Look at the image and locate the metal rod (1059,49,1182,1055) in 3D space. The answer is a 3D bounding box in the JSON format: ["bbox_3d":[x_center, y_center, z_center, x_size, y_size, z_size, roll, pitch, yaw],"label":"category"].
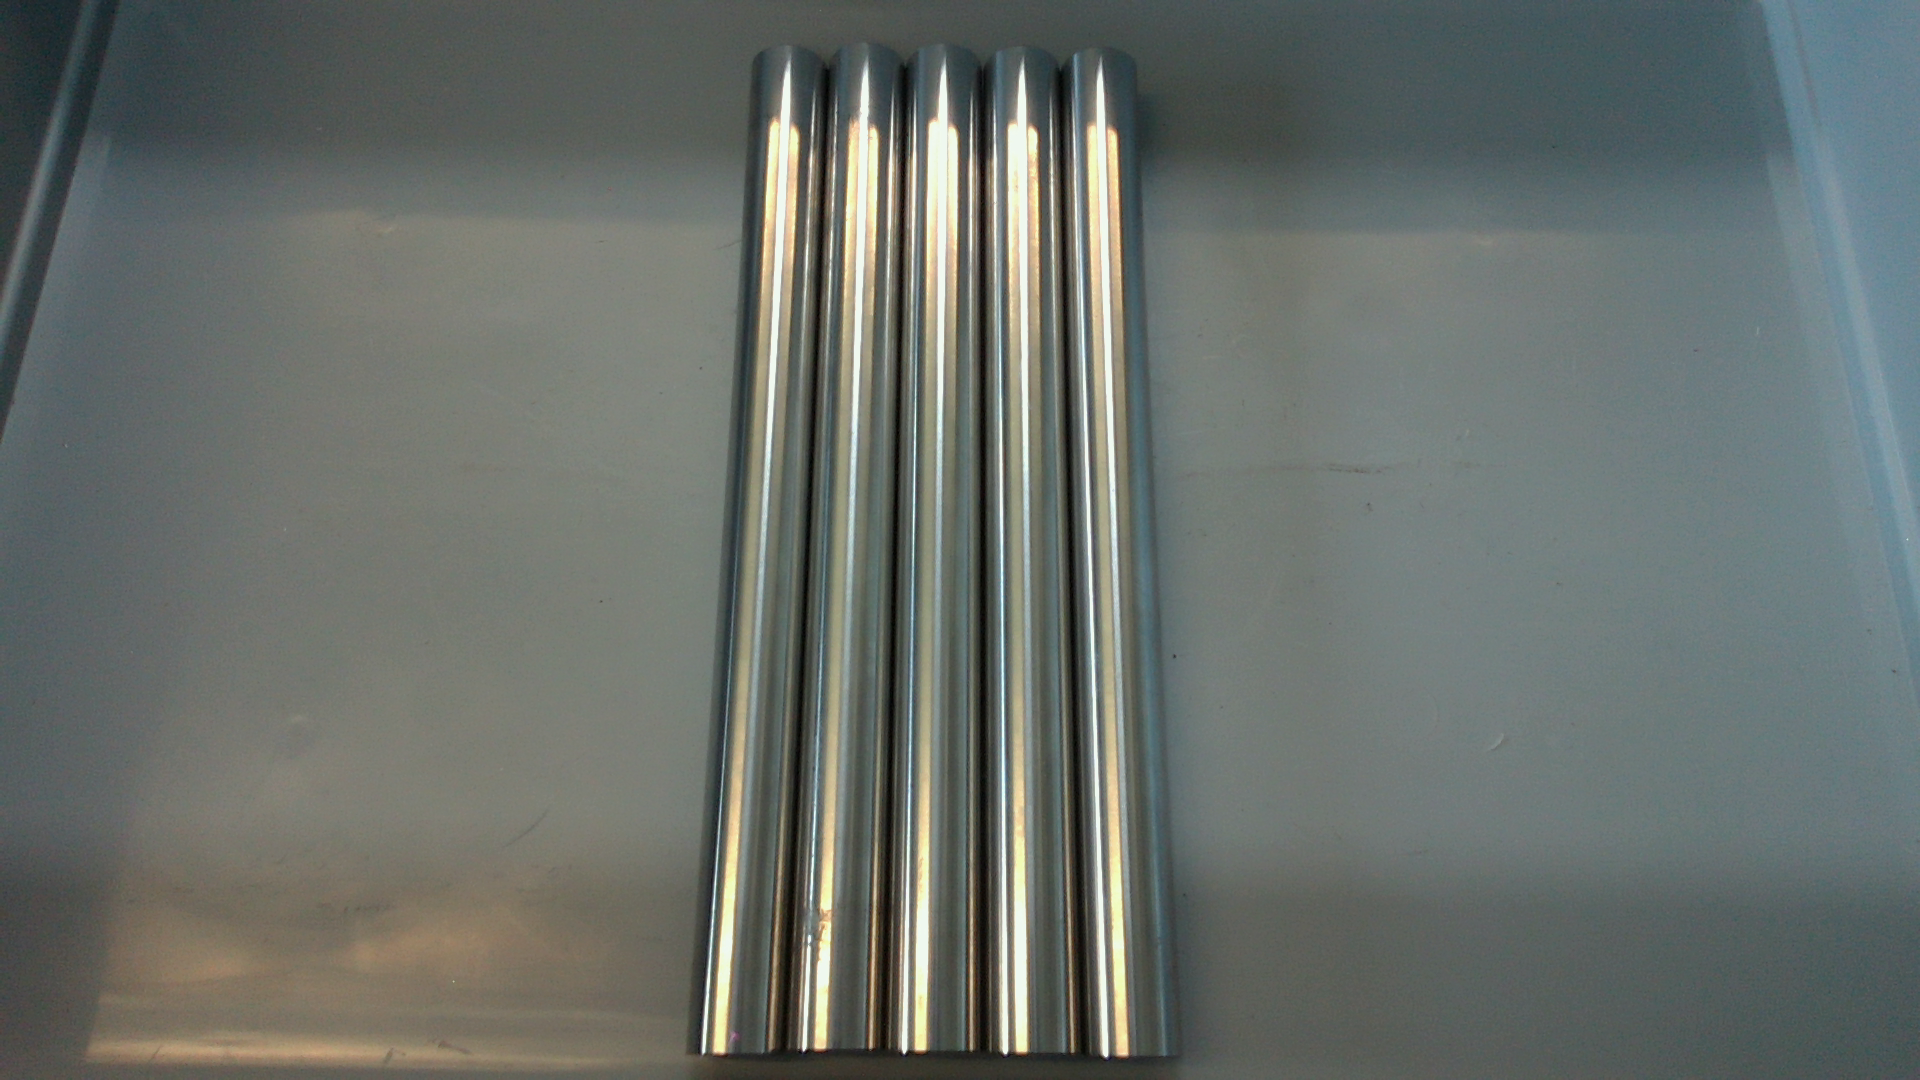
[{"bbox_3d":[0.044,-0.011,0.398,0.025,0.025,0.300,0,70,0],"label":"metal rod"}]

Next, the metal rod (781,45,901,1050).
[{"bbox_3d":[-0.032,-0.012,0.398,0.025,0.025,0.300,0,70,0],"label":"metal rod"}]

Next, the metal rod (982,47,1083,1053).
[{"bbox_3d":[0.019,-0.012,0.398,0.025,0.025,0.300,0,70,0],"label":"metal rod"}]

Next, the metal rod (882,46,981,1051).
[{"bbox_3d":[-0.007,-0.012,0.398,0.025,0.025,0.300,0,70,0],"label":"metal rod"}]

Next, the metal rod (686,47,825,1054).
[{"bbox_3d":[-0.056,-0.012,0.398,0.025,0.025,0.300,0,70,0],"label":"metal rod"}]
